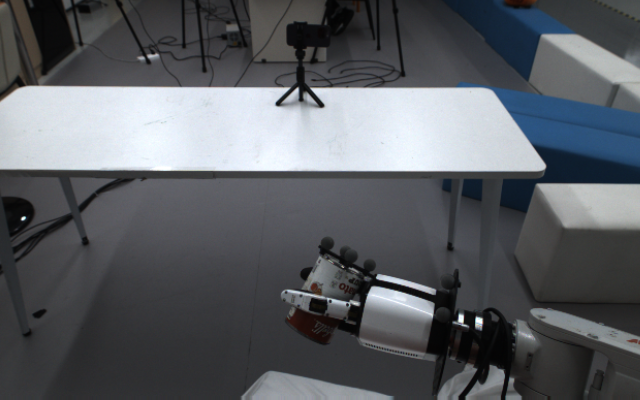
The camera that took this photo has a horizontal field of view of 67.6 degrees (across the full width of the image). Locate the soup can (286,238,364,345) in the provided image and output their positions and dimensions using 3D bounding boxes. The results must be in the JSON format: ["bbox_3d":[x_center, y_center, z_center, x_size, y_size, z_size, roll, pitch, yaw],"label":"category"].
[{"bbox_3d":[0.007,0.129,0.639,0.067,0.101,0.067,30,-2,1],"label":"soup can"}]
